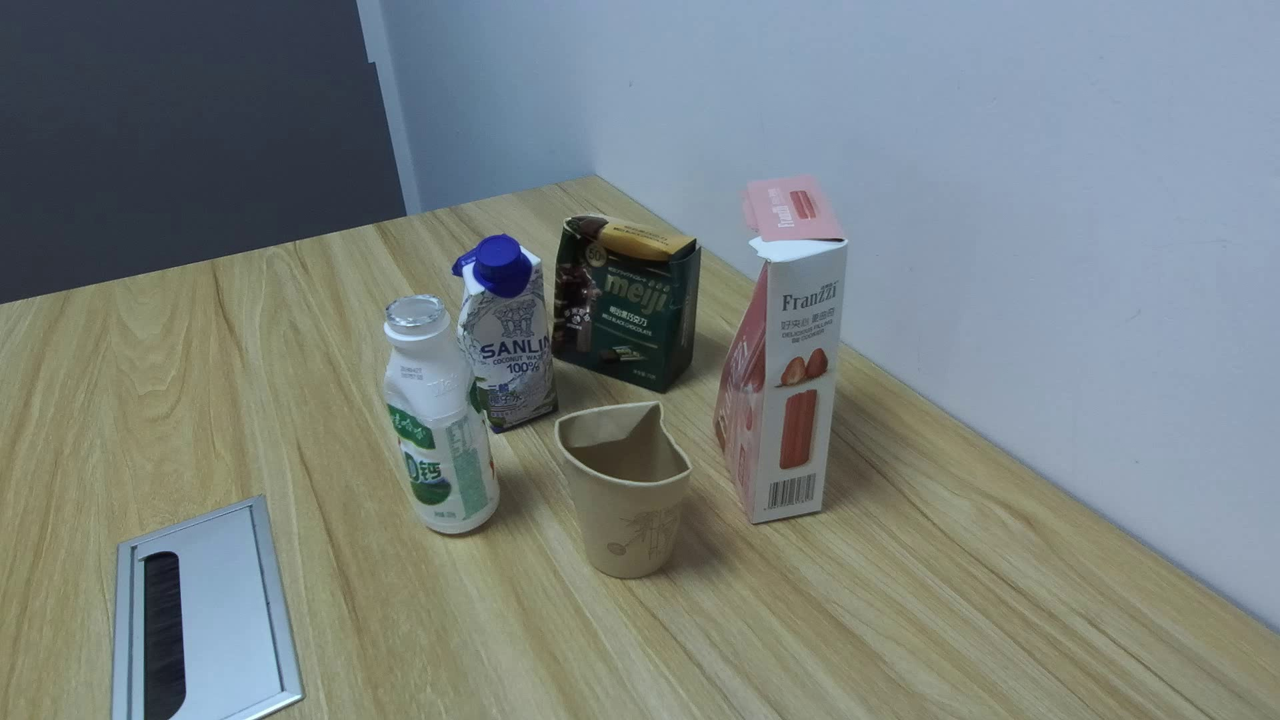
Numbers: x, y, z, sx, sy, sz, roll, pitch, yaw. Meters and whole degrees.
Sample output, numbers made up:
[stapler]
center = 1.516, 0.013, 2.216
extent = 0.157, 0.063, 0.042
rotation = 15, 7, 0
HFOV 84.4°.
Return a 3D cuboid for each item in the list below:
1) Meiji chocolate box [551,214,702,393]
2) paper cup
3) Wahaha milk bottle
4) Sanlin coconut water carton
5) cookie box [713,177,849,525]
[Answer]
[Meiji chocolate box]
center = -0.013, -0.046, 0.557
extent = 0.113, 0.110, 0.058
rotation = 16, 26, 25
[paper cup]
center = -0.010, 0.077, 0.397
extent = 0.066, 0.084, 0.071
rotation = -9, 35, -13
[Wahaha milk bottle]
center = -0.114, 0.033, 0.406
extent = 0.055, 0.149, 0.055
rotation = 1, 36, 0
[Sanlin coconut water carton]
center = -0.097, -0.023, 0.491
extent = 0.061, 0.144, 0.069
rotation = -19, 38, -23
[cookie box]
center = 0.080, -0.004, 0.422
extent = 0.055, 0.184, 0.118
rotation = -2, 34, -2
